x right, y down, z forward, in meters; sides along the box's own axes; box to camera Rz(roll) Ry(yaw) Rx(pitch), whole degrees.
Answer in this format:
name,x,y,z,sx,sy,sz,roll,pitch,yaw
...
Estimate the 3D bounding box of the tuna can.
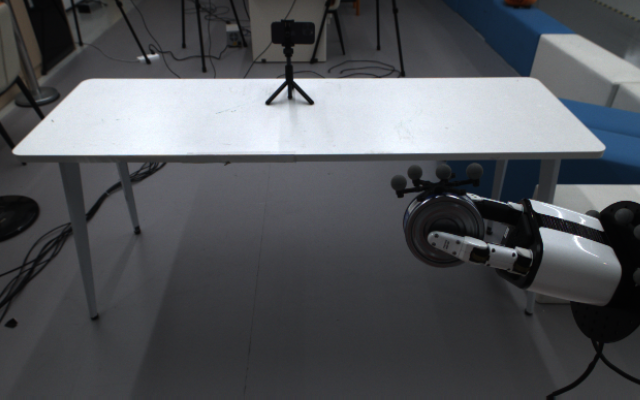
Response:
name,x,y,z,sx,sy,sz,roll,pitch,yaw
tuna can,0.139,0.028,0.536,0.085,0.085,0.034,6,18,5
